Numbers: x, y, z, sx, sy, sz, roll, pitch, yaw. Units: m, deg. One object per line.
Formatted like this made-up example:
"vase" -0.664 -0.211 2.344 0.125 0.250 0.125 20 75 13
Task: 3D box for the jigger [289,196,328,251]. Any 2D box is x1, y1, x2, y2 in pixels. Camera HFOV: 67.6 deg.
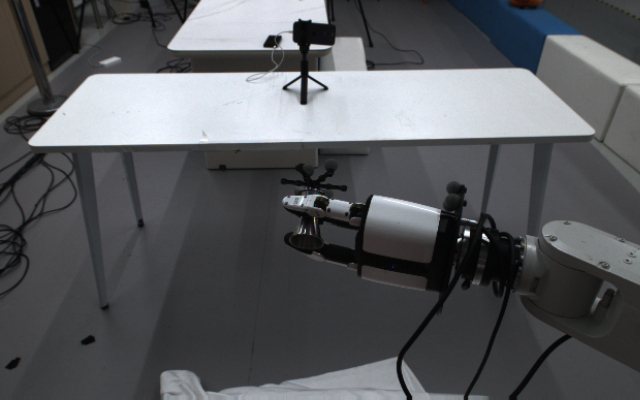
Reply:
"jigger" -0.016 0.022 0.621 0.043 0.043 0.071 6 60 5
